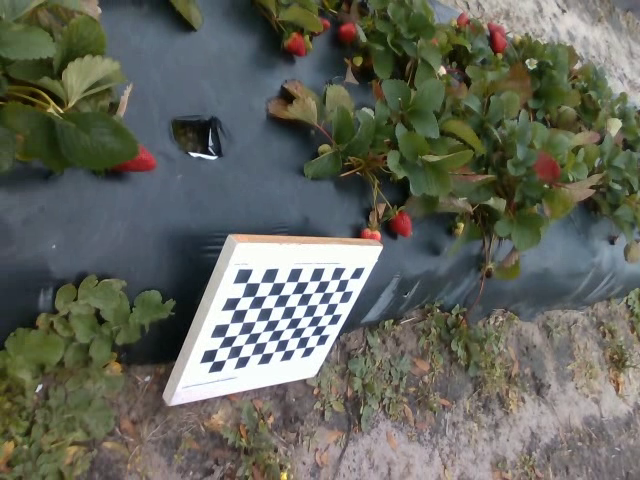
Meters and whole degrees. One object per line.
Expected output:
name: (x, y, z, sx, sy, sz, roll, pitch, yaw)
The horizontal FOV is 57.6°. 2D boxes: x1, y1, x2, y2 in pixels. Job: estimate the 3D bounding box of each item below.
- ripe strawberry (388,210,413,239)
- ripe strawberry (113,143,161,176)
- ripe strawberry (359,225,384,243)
ripe strawberry: (0.140, -0.028, 0.993, 0.044, 0.059, 0.042, -31, 27, -4)
ripe strawberry: (-0.220, -0.096, 0.670, 0.064, 0.046, 0.049, 26, 22, -17)
ripe strawberry: (0.083, -0.001, 0.943, 0.036, 0.041, 0.027, 7, 9, -35)
